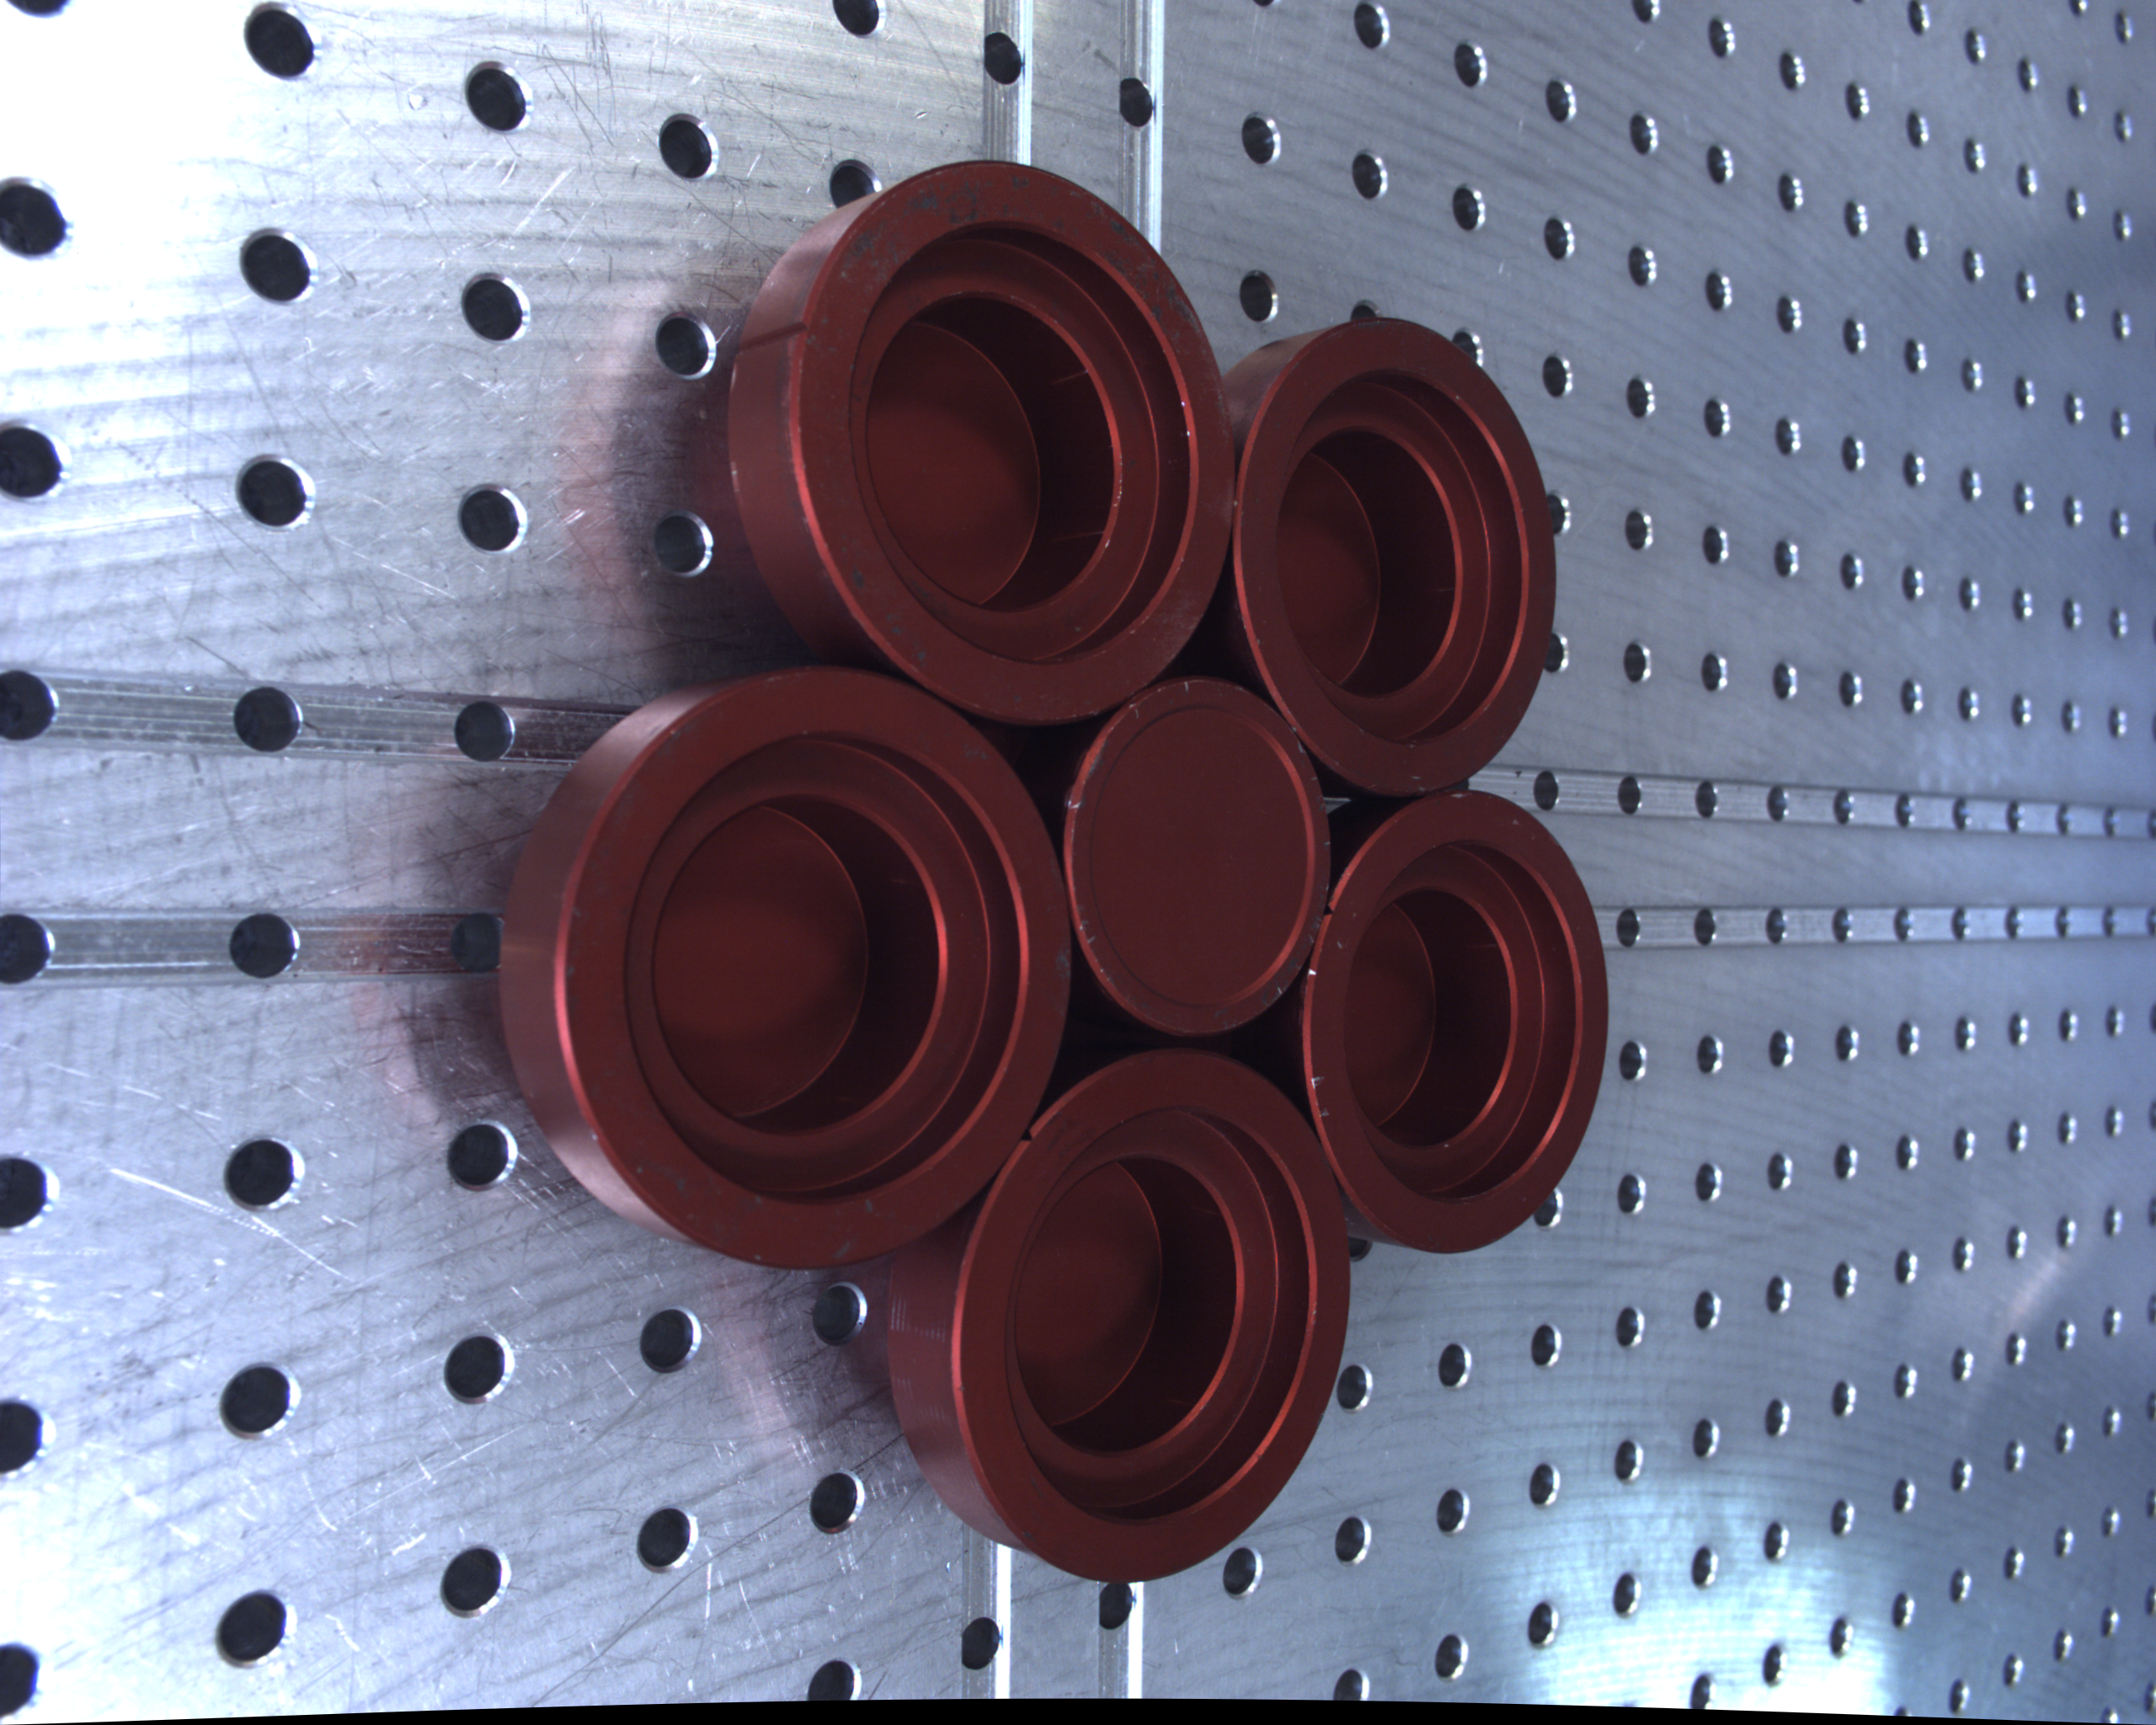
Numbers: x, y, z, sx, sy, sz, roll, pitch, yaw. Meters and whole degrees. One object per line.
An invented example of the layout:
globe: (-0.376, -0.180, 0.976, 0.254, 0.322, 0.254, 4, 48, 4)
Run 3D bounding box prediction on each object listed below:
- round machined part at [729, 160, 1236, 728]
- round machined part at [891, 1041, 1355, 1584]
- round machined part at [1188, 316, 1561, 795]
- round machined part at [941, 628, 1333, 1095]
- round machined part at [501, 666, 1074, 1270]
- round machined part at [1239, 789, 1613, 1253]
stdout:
round machined part: (-0.021, -0.073, 0.379, 0.099, 0.042, 0.097, 0, 90, -40)
round machined part: (0.004, 0.083, 0.400, 0.099, 0.042, 0.097, 0, 90, -40)
round machined part: (0.055, -0.063, 0.442, 0.099, 0.042, 0.097, 0, 90, -40)
round machined part: (0.011, -0.001, 0.406, 0.099, 0.042, 0.097, 0, 90, -40)
round machined part: (-0.052, 0.017, 0.353, 0.099, 0.042, 0.097, 0, 90, -40)
round machined part: (0.070, 0.033, 0.455, 0.099, 0.042, 0.097, 0, 90, -40)
